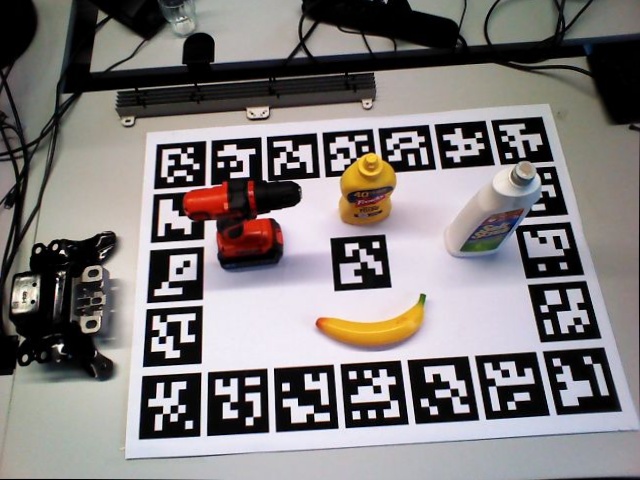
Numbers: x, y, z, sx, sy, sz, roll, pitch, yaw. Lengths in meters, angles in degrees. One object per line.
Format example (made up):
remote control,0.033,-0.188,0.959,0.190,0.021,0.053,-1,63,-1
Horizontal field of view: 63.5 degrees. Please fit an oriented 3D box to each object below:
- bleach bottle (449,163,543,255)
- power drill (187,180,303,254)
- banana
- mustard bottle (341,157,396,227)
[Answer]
bleach bottle,0.282,-0.048,0.817,0.103,0.251,0.067,4,69,3
power drill,-0.099,-0.041,0.829,0.185,0.187,0.057,-10,69,2
banana,0.098,0.138,0.857,0.198,0.039,0.074,-9,71,2
mustard bottle,0.088,-0.084,0.872,0.096,0.192,0.058,-10,69,-4
